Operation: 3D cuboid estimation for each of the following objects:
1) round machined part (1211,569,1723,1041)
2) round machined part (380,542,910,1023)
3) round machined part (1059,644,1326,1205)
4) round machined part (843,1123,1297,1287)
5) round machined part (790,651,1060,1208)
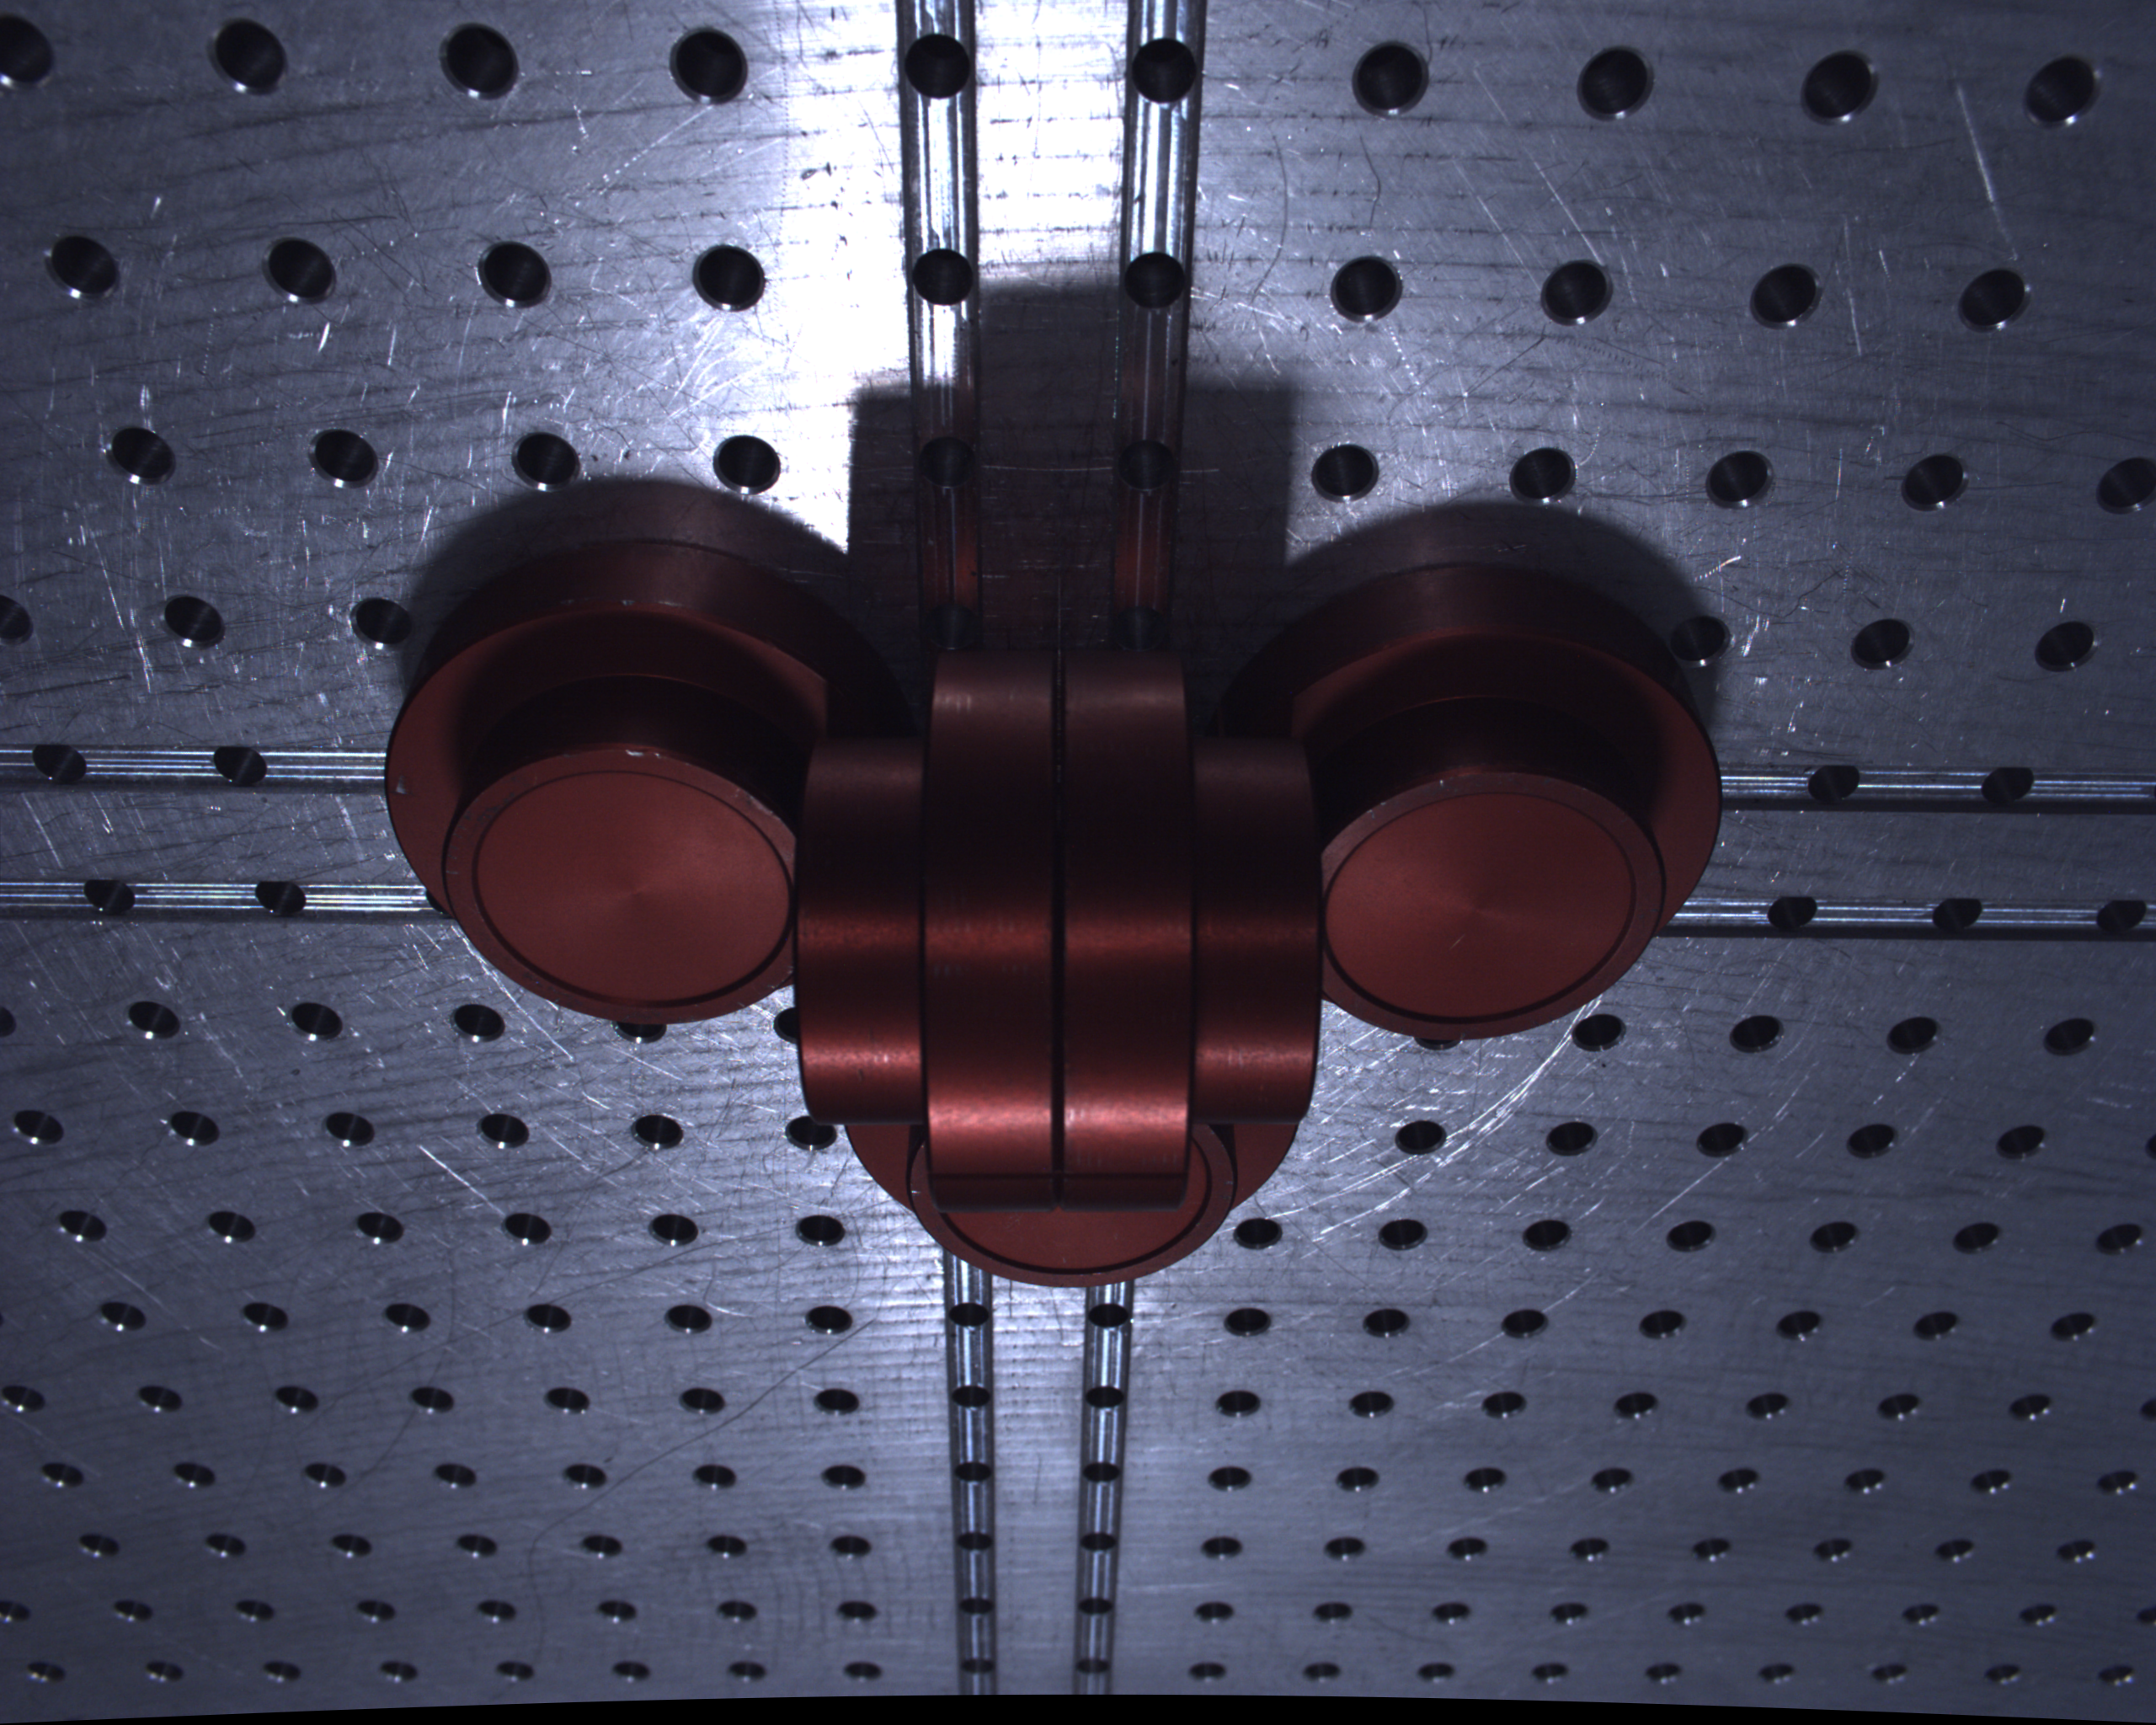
[{"bbox_3d":[0.073,-0.004,0.397,0.099,0.042,0.097,-1,130,0],"label":"round machined part"},{"bbox_3d":[-0.081,-0.008,0.392,0.099,0.042,0.097,-1,130,0],"label":"round machined part"},{"bbox_3d":[0.019,0.010,0.366,0.042,0.098,0.097,-1,130,0],"label":"round machined part"},{"bbox_3d":[-0.002,0.053,0.446,0.099,0.042,0.097,-1,130,0],"label":"round machined part"},{"bbox_3d":[-0.025,0.011,0.365,0.042,0.098,0.097,1,130,-1],"label":"round machined part"}]
